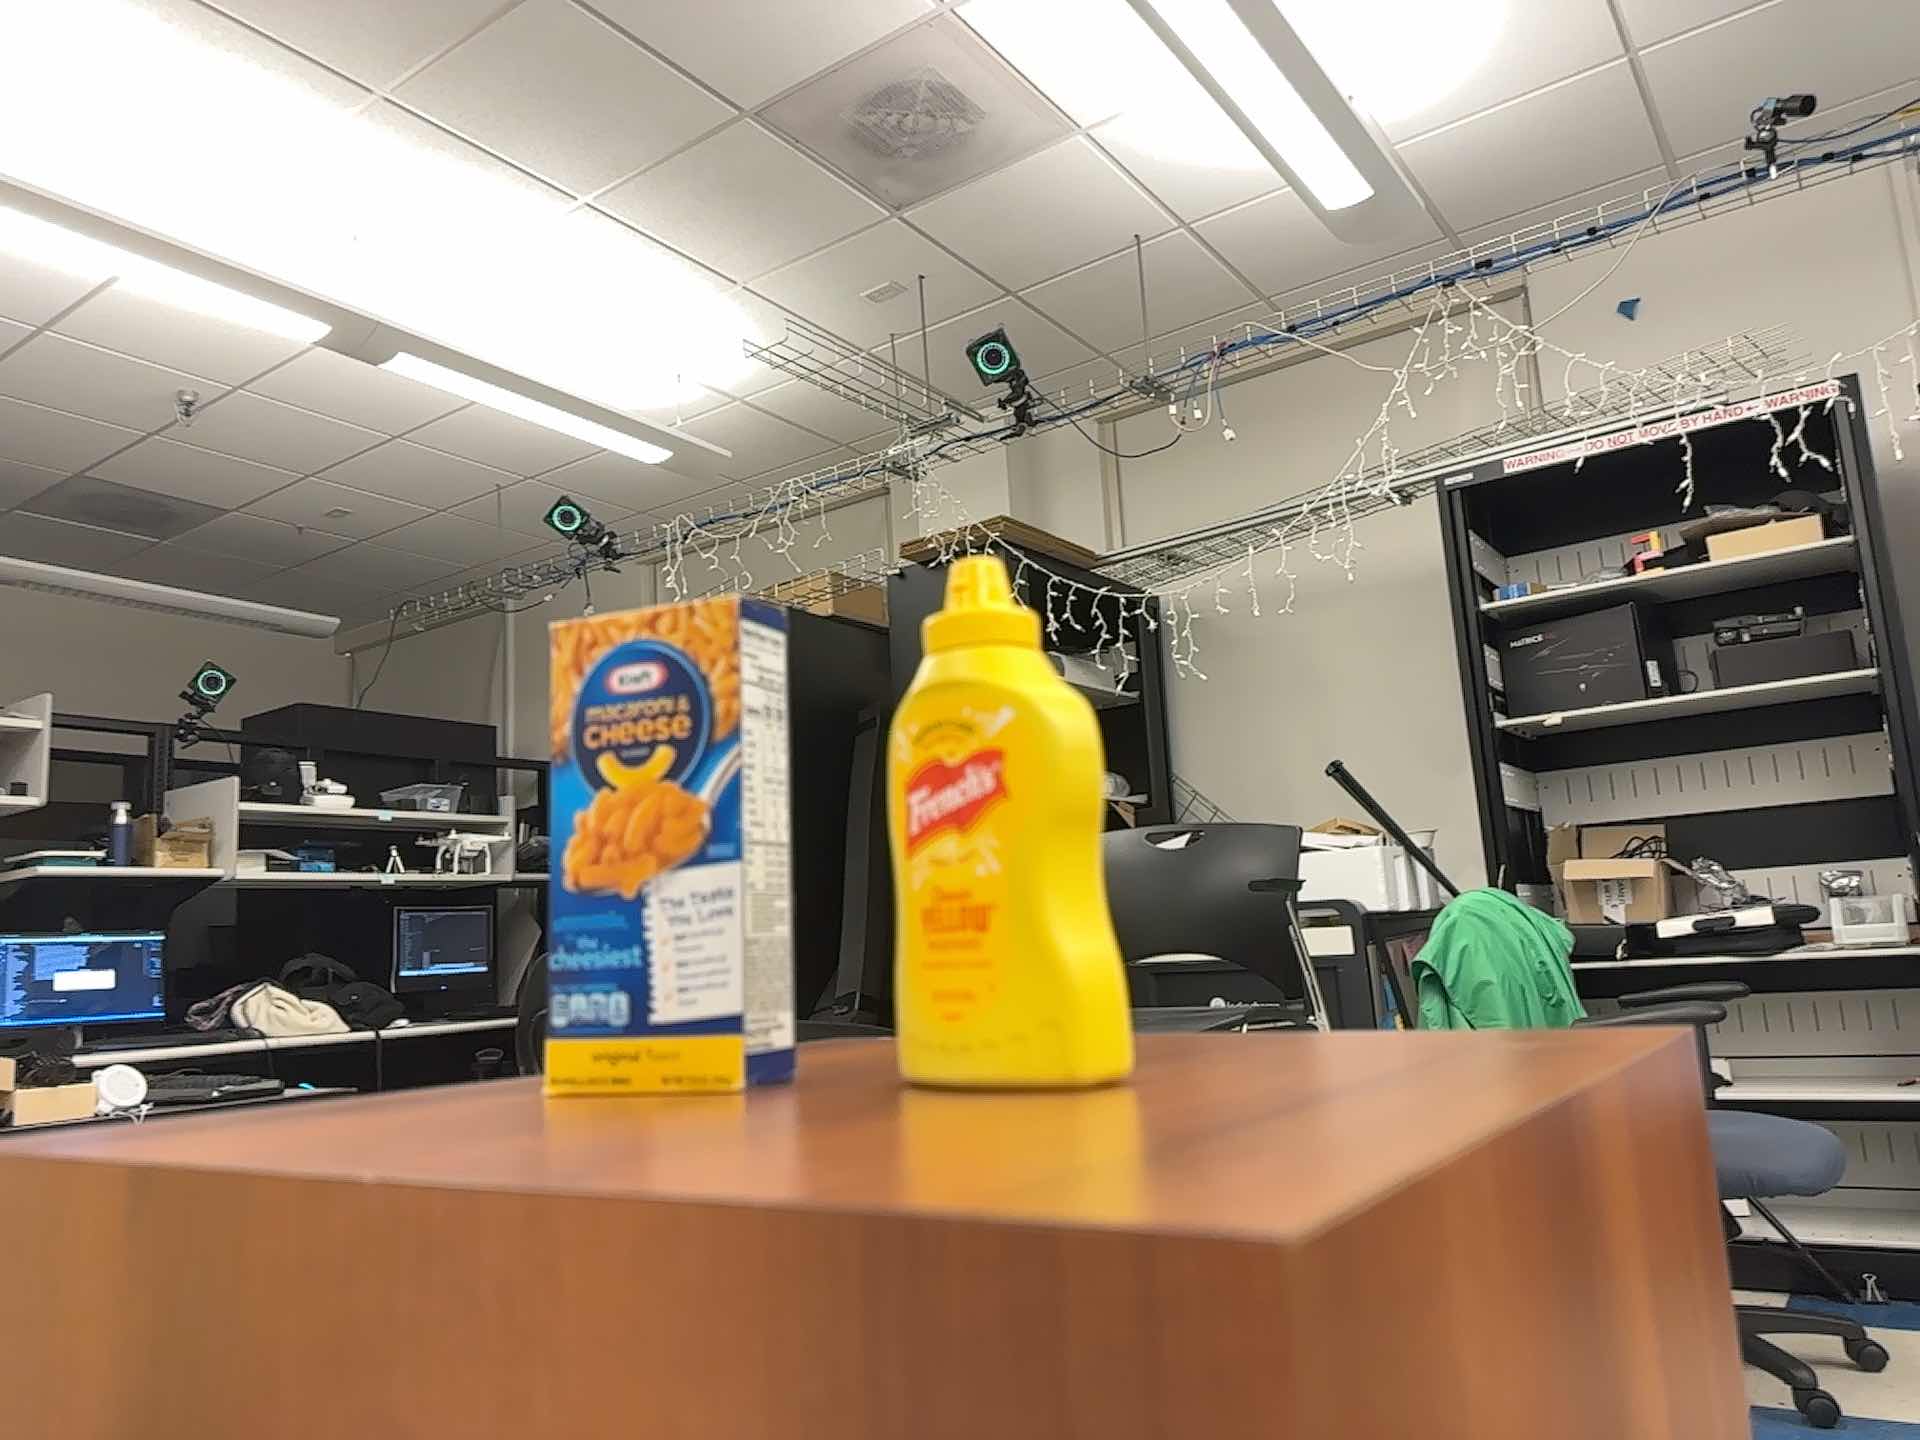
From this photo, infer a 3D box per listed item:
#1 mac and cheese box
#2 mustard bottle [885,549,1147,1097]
[{"bbox_3d":[-0.112,0.052,0.521,0.088,0.181,0.035,-9,-11,28],"label":"mac and cheese box"},{"bbox_3d":[0.012,0.031,0.455,0.054,0.184,0.092,3,-13,-37],"label":"mustard bottle"}]
